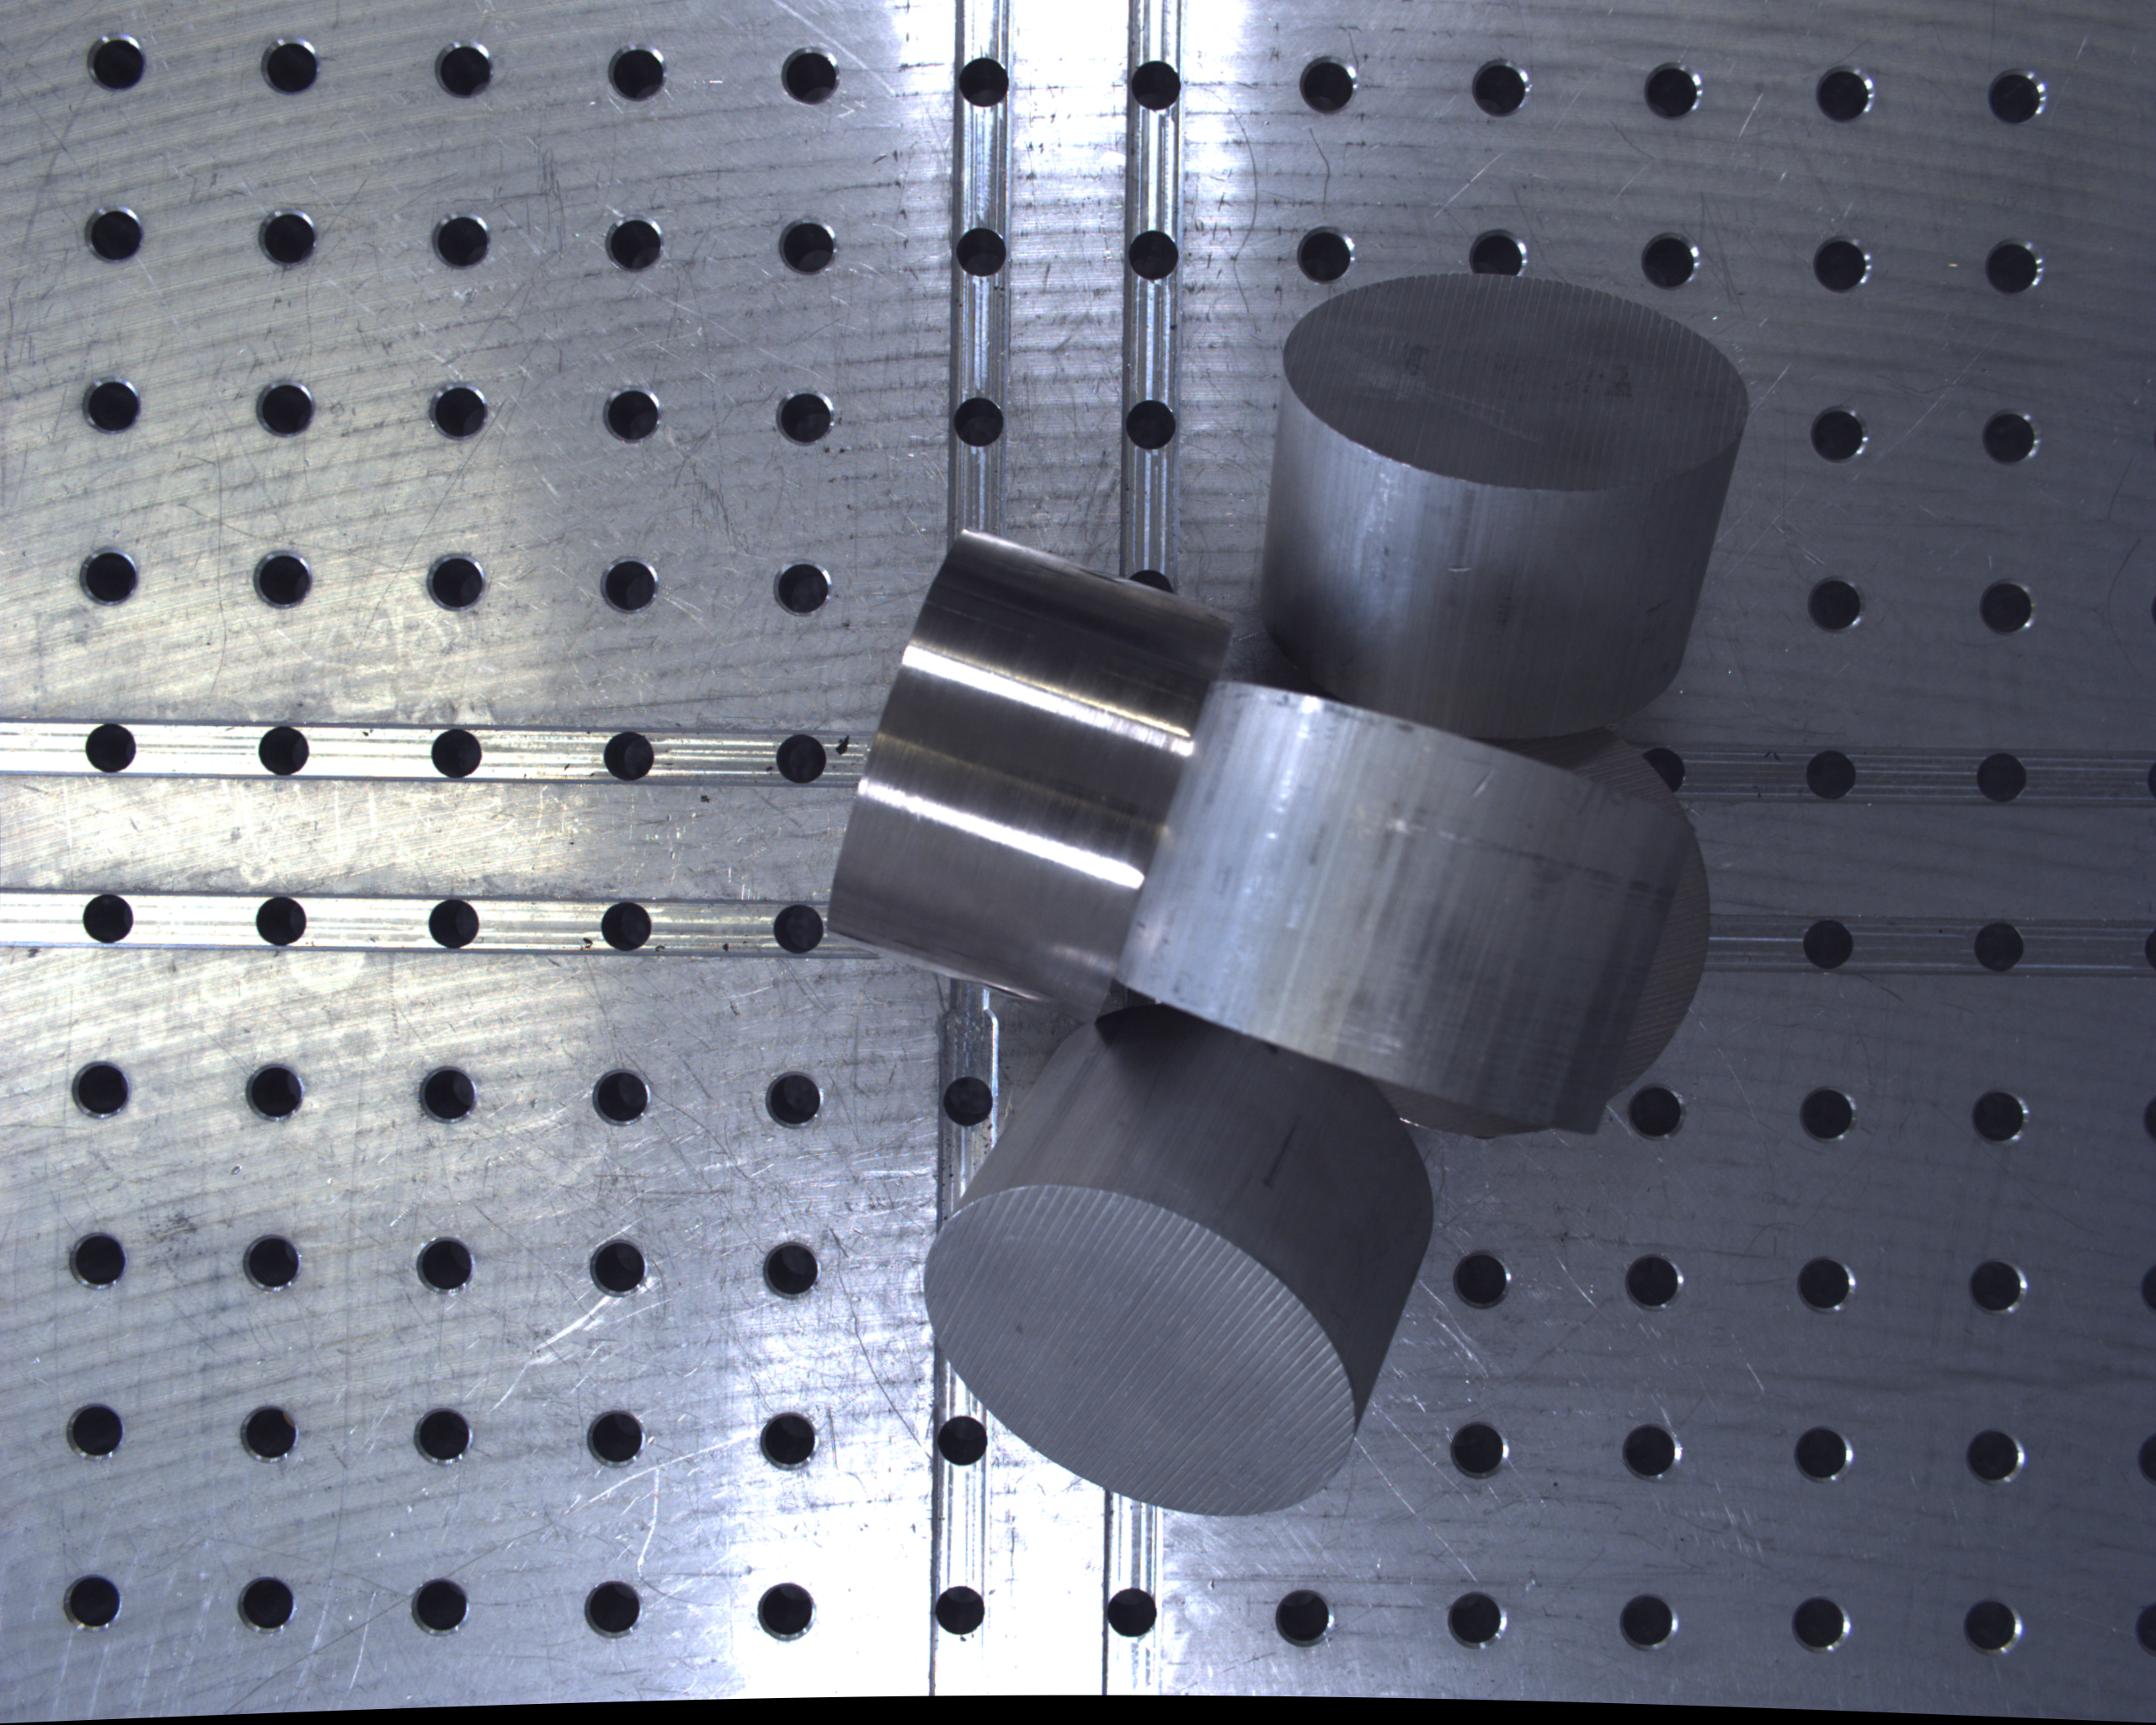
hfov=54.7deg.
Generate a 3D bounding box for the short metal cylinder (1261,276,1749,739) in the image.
[{"bbox_3d":[0.075,-0.066,0.379,0.081,0.080,0.050,2,130,0],"label":"short metal cylinder"}]

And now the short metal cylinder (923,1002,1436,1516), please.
[{"bbox_3d":[0.019,0.072,0.380,0.080,0.050,0.079,14,129,18],"label":"short metal cylinder"}]

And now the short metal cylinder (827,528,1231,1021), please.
[{"bbox_3d":[-0.009,-0.016,0.385,0.050,0.080,0.080,19,90,0],"label":"short metal cylinder"}]

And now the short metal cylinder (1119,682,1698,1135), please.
[{"bbox_3d":[0.052,0.007,0.335,0.080,0.080,0.050,17,90,0],"label":"short metal cylinder"}]

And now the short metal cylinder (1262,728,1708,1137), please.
[{"bbox_3d":[0.073,0.010,0.400,0.081,0.050,0.080,0,89,0],"label":"short metal cylinder"}]
